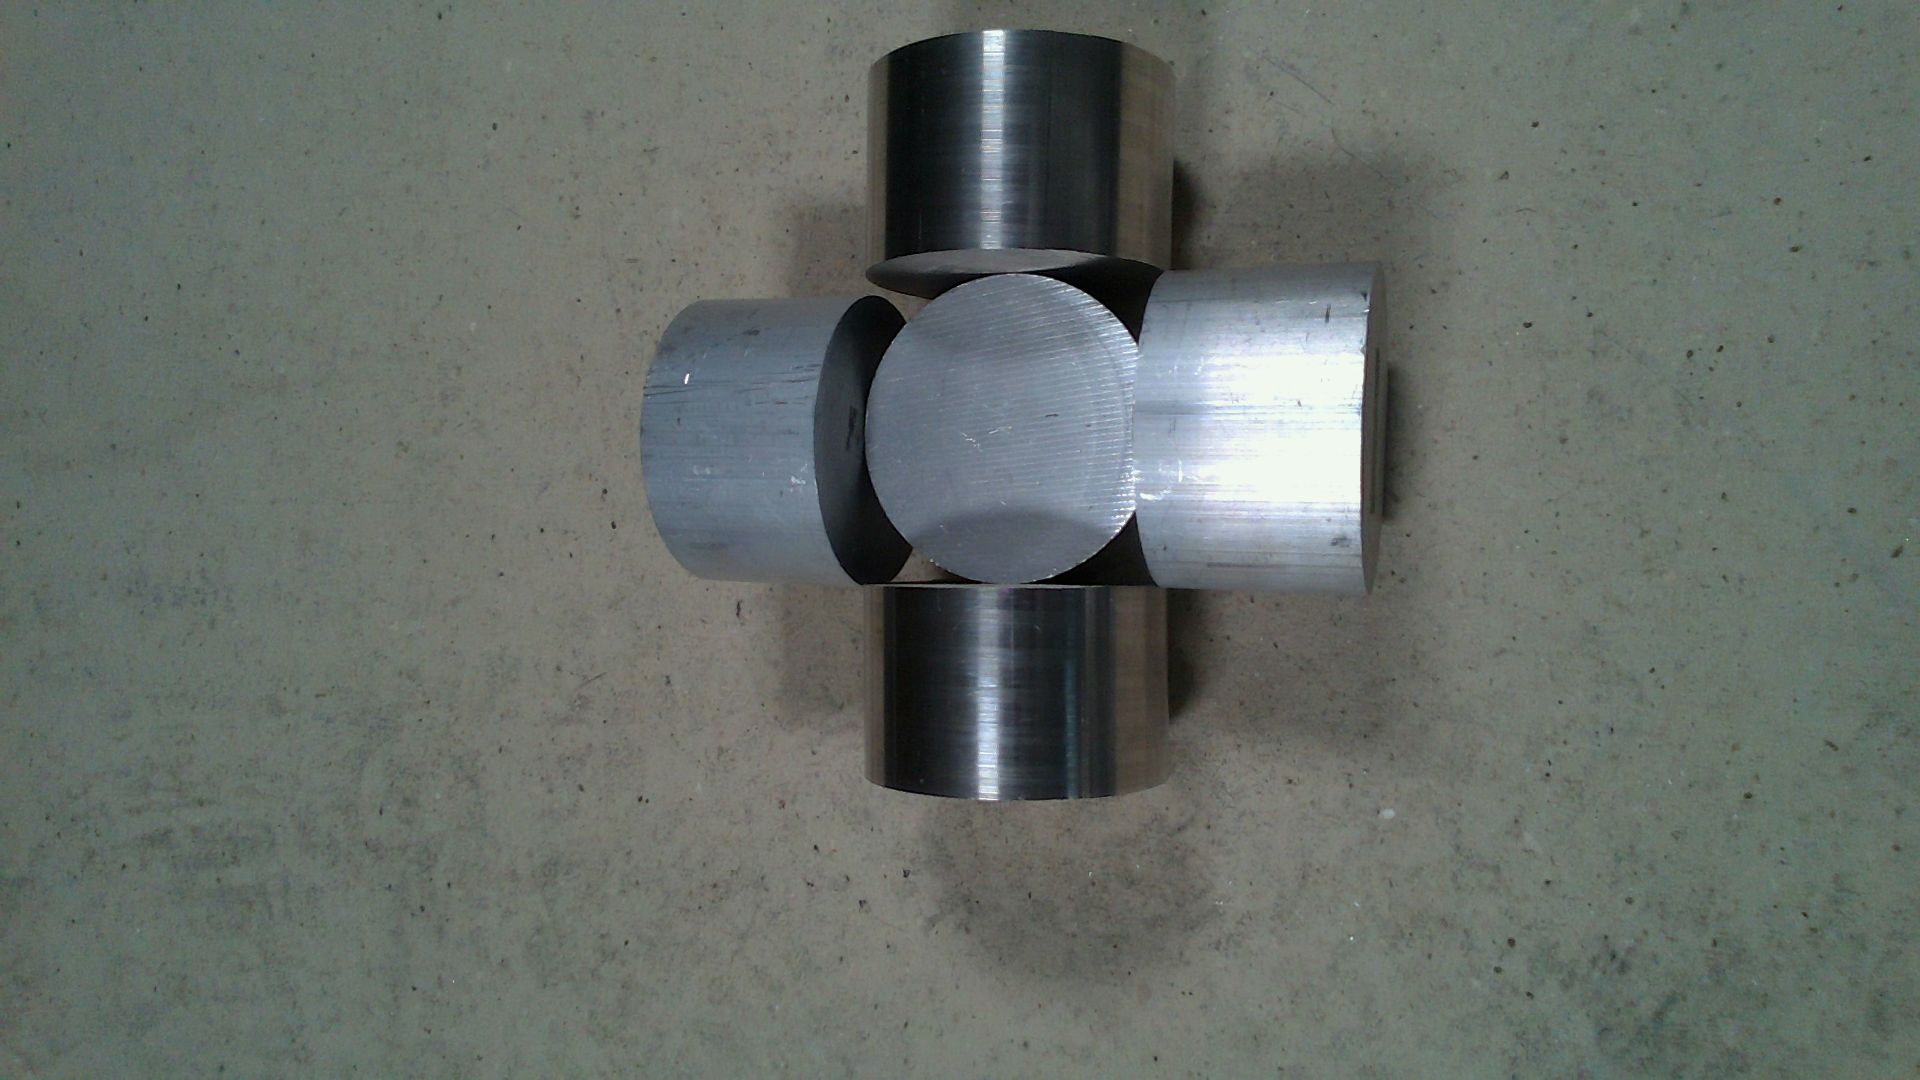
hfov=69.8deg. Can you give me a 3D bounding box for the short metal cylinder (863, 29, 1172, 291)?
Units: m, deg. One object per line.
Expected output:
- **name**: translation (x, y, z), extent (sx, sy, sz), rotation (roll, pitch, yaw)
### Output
- **short metal cylinder**: translation (0.015, -0.095, 0.360), extent (0.080, 0.080, 0.050), rotation (2, 91, 20)

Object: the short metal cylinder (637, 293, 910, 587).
- **short metal cylinder**: translation (-0.046, -0.028, 0.384), extent (0.050, 0.080, 0.080), rotation (2, 91, 20)

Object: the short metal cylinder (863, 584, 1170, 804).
- **short metal cylinder**: translation (0.015, 0.037, 0.361), extent (0.080, 0.080, 0.050), rotation (0, 90, 20)

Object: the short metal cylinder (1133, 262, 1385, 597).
- **short metal cylinder**: translation (0.077, -0.027, 0.339), extent (0.050, 0.080, 0.080), rotation (2, 91, 20)

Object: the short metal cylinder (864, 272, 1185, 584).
- **short metal cylinder**: translation (0.021, -0.029, 0.376), extent (0.080, 0.050, 0.080), rotation (0, 90, 20)
